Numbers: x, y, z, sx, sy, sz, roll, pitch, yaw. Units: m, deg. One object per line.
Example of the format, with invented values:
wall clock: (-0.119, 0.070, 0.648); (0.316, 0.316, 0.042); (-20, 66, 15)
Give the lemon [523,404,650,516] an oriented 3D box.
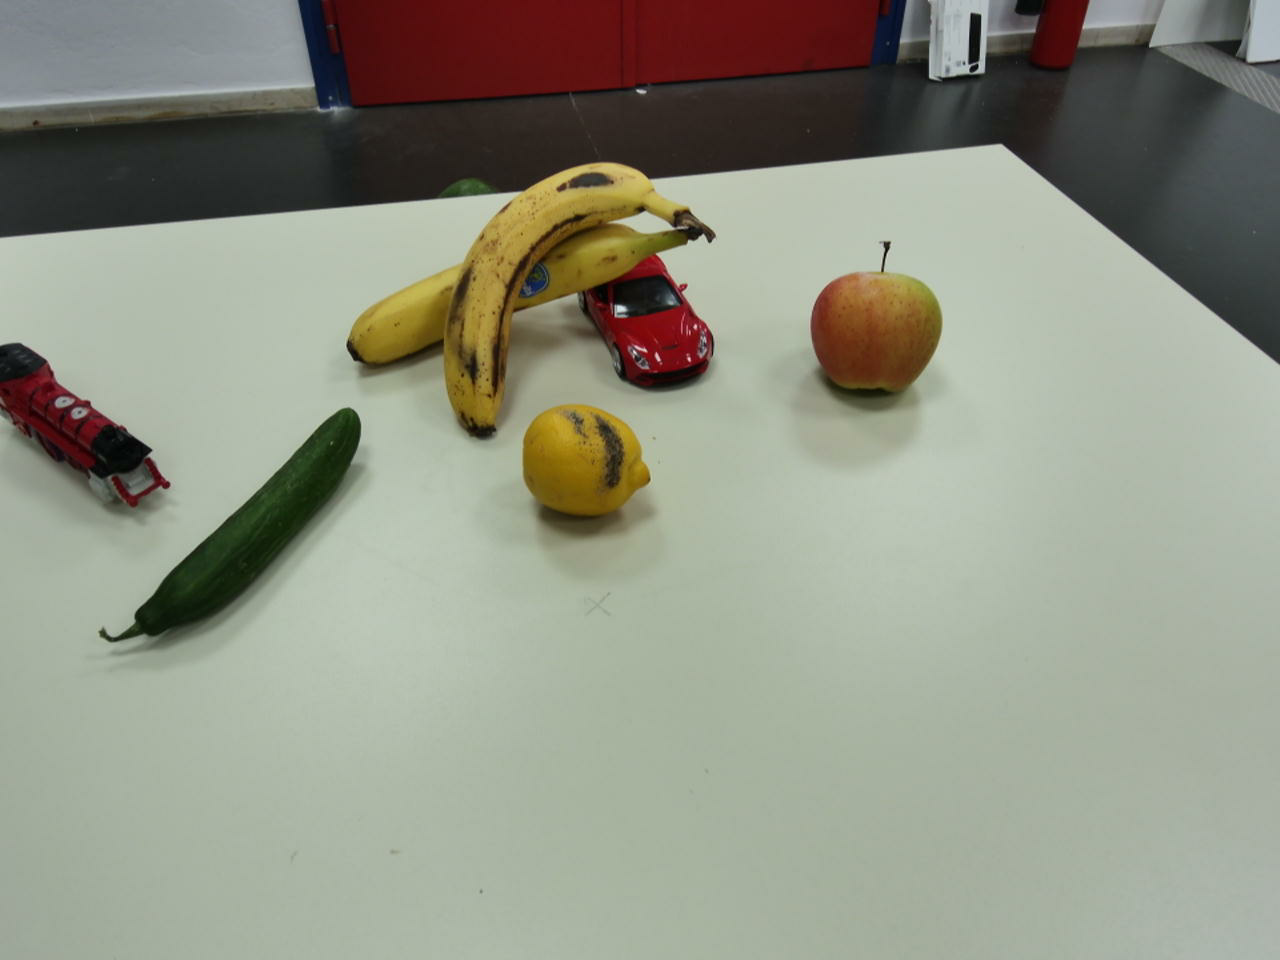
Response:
lemon: (-0.030, -0.010, 0.510); (0.061, 0.056, 0.058); (-14, 41, -16)
